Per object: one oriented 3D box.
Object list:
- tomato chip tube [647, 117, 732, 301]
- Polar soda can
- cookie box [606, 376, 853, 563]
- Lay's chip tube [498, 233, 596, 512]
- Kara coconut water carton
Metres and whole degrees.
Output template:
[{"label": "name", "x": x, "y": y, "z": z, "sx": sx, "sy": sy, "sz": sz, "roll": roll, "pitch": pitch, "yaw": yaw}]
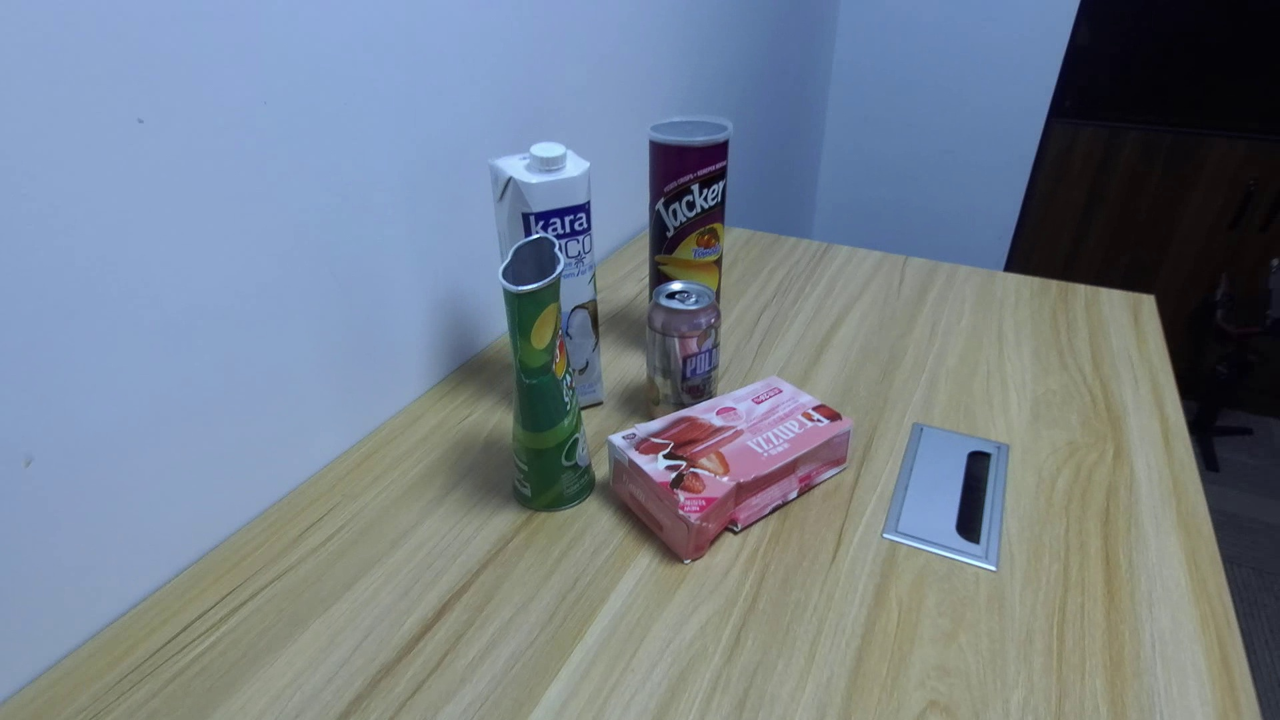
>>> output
[{"label": "tomato chip tube", "x": 0.047, "y": -0.114, "z": 0.709, "sx": 0.078, "sy": 0.234, "sz": 0.078, "roll": 0, "pitch": 32, "yaw": 1}, {"label": "Polar soda can", "x": 0.041, "y": -0.005, "z": 0.642, "sx": 0.067, "sy": 0.126, "sz": 0.067, "roll": -1, "pitch": 32, "yaw": 1}, {"label": "cookie box", "x": 0.077, "y": 0.074, "z": 0.571, "sx": 0.186, "sy": 0.059, "sz": 0.104, "roll": -22, "pitch": 39, "yaw": -32}, {"label": "Lay's chip tube", "x": -0.073, "y": 0.017, "z": 0.538, "sx": 0.069, "sy": 0.200, "sz": 0.074, "roll": -22, "pitch": 37, "yaw": -30}, {"label": "Kara coconut water carton", "x": -0.080, "y": -0.069, "z": 0.631, "sx": 0.077, "sy": 0.245, "sz": 0.075, "roll": -15, "pitch": 33, "yaw": -22}]
